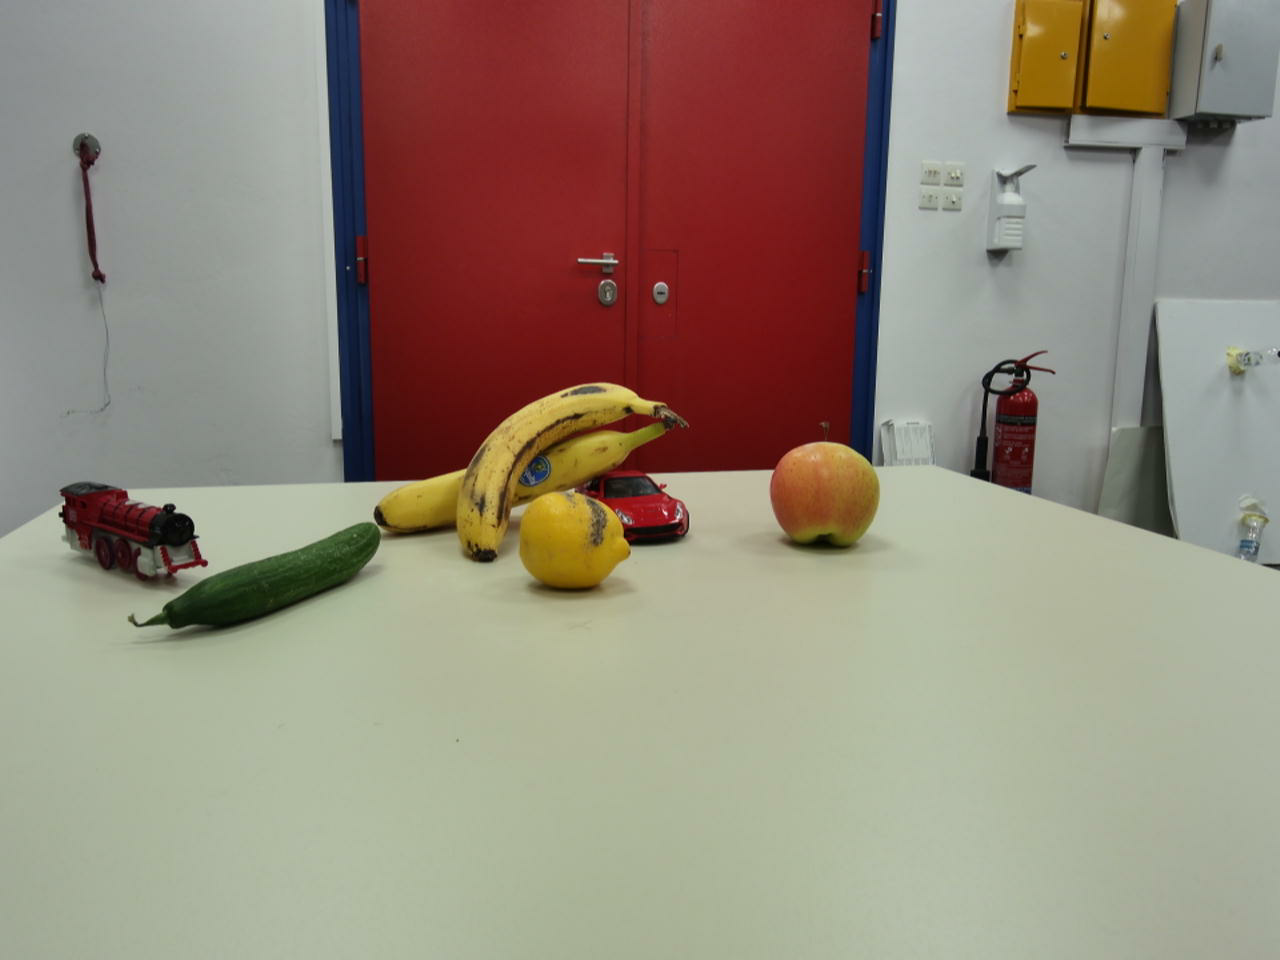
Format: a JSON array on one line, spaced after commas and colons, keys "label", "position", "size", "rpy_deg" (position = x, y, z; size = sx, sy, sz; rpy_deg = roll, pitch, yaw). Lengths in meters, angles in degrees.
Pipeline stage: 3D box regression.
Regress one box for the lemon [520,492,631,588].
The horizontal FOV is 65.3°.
[{"label": "lemon", "position": [-0.041, 0.035, 0.586], "size": [0.061, 0.056, 0.058], "rpy_deg": [-3, 8, -20]}]
